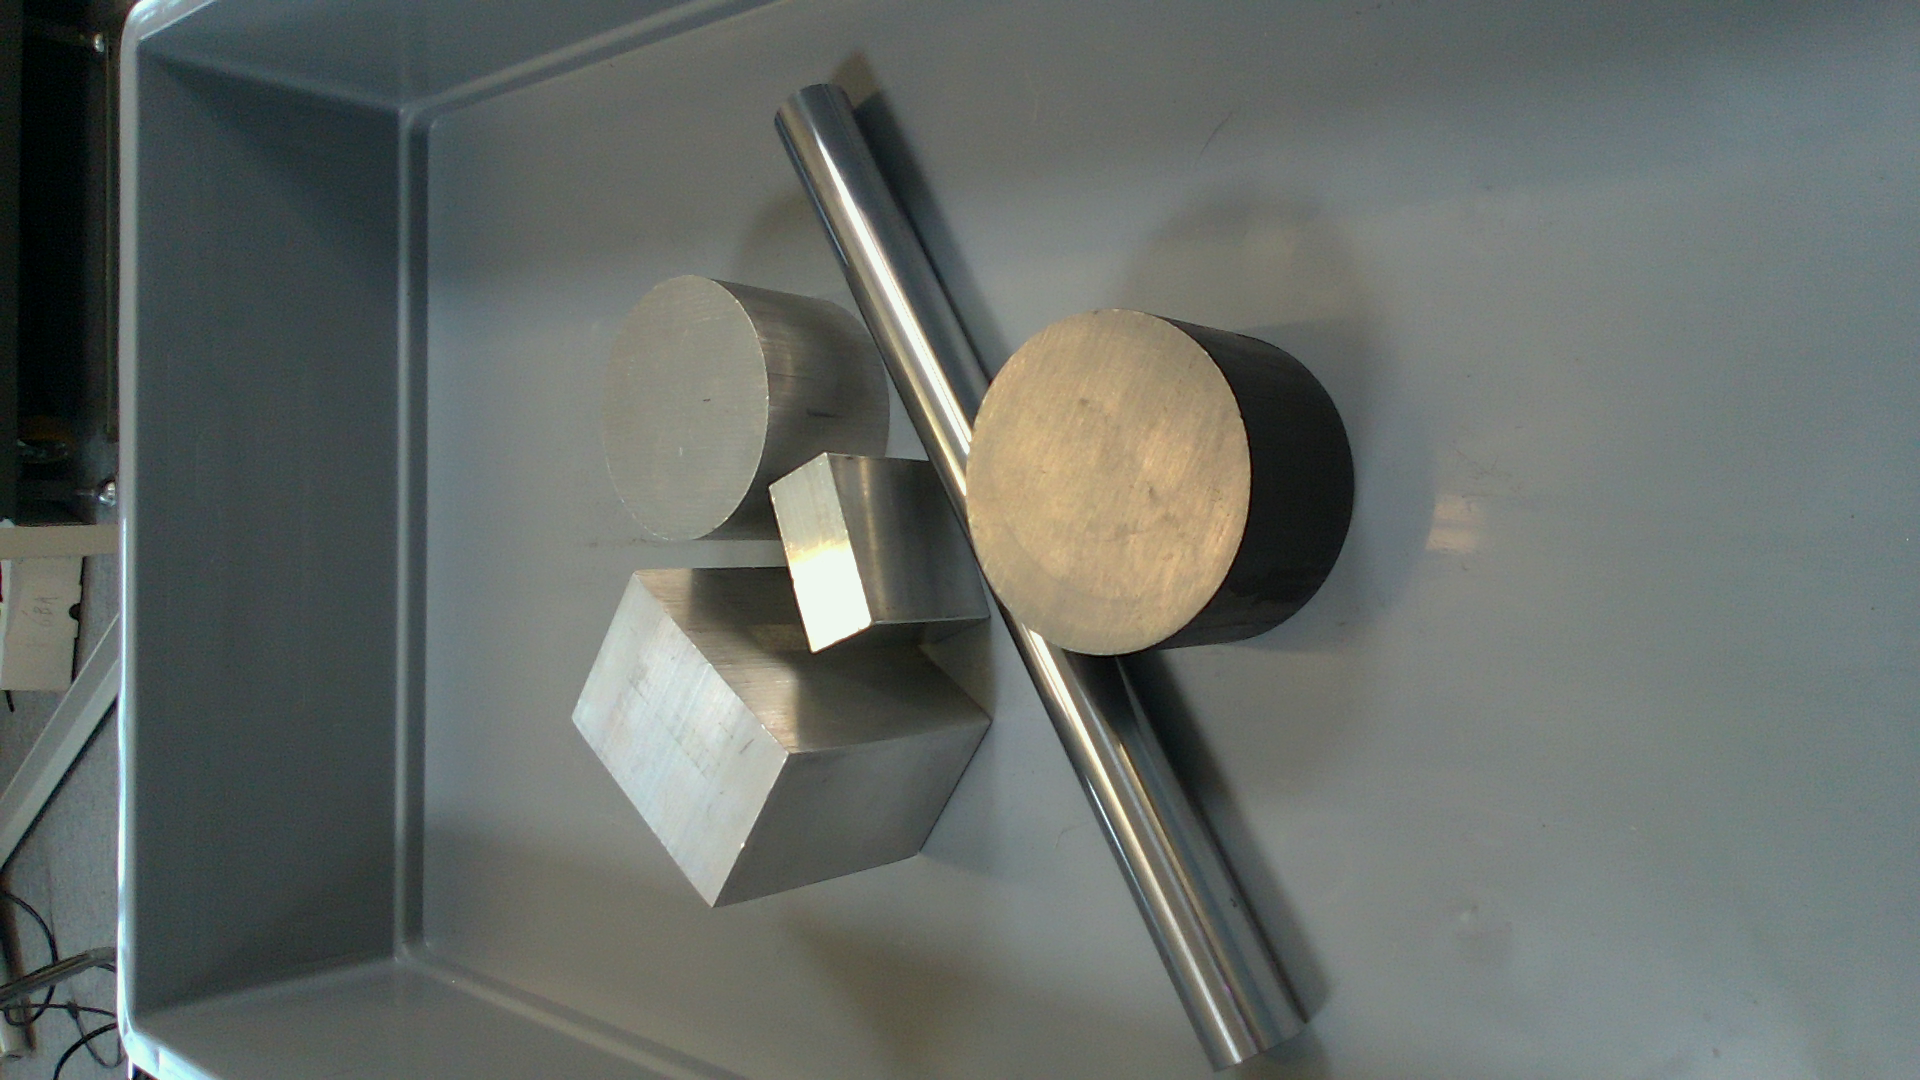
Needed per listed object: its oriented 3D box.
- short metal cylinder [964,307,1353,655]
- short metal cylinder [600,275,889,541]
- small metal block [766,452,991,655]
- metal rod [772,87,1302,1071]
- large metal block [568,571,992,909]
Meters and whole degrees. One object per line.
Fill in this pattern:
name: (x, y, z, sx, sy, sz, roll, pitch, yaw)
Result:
short metal cylinder: (0.048, -0.014, 0.337, 0.080, 0.050, 0.080, 0, 90, 40)
short metal cylinder: (-0.069, -0.040, 0.435, 0.080, 0.050, 0.080, 0, 90, 40)
small metal block: (-0.023, 0.004, 0.396, 0.025, 0.050, 0.050, -27, 73, 37)
metal rod: (0.012, -0.005, 0.383, 0.025, 0.025, 0.300, -38, 67, 33)
large metal block: (-0.053, 0.053, 0.400, 0.080, 0.080, 0.050, 42, 116, 33)
